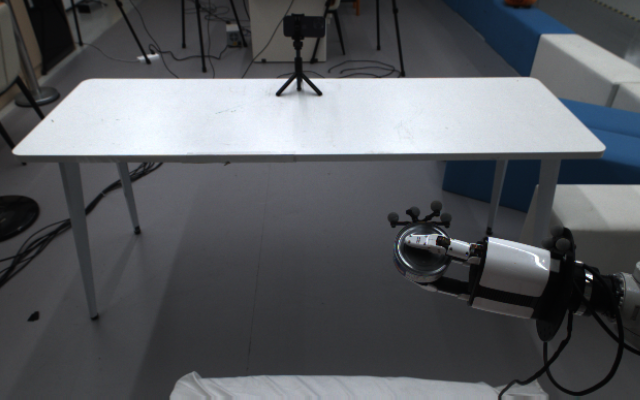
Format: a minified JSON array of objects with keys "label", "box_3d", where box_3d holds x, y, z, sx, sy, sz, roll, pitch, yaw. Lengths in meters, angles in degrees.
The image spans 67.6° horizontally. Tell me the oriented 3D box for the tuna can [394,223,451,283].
[{"label":"tuna can","box_3d":[0.151,0.076,0.711,0.085,0.034,0.085,-2,58,3]}]
